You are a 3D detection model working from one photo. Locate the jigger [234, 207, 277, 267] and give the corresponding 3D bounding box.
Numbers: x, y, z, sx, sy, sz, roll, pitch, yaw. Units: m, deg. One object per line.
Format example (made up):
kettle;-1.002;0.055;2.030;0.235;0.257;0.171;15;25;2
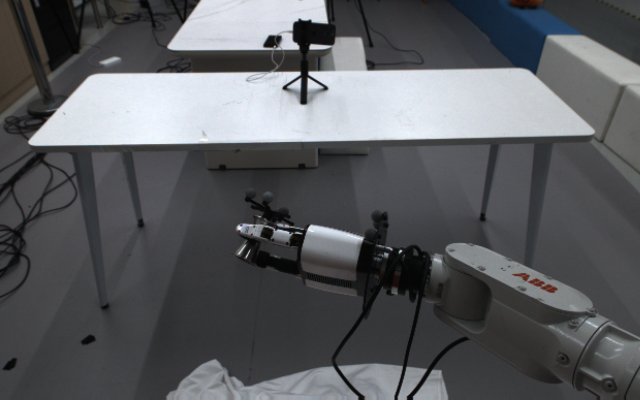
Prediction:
jigger;-0.102;0.059;0.740;0.043;0.043;0.071;20;74;24
